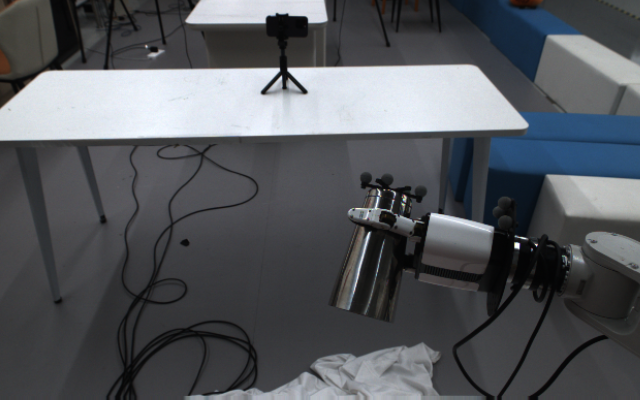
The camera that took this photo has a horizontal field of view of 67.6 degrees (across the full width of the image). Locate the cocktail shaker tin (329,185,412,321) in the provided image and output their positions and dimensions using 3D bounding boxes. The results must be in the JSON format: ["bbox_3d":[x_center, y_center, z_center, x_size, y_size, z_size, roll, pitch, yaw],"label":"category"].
[{"bbox_3d":[0.080,0.071,0.670,0.093,0.093,0.170,13,77,15],"label":"cocktail shaker tin"}]
